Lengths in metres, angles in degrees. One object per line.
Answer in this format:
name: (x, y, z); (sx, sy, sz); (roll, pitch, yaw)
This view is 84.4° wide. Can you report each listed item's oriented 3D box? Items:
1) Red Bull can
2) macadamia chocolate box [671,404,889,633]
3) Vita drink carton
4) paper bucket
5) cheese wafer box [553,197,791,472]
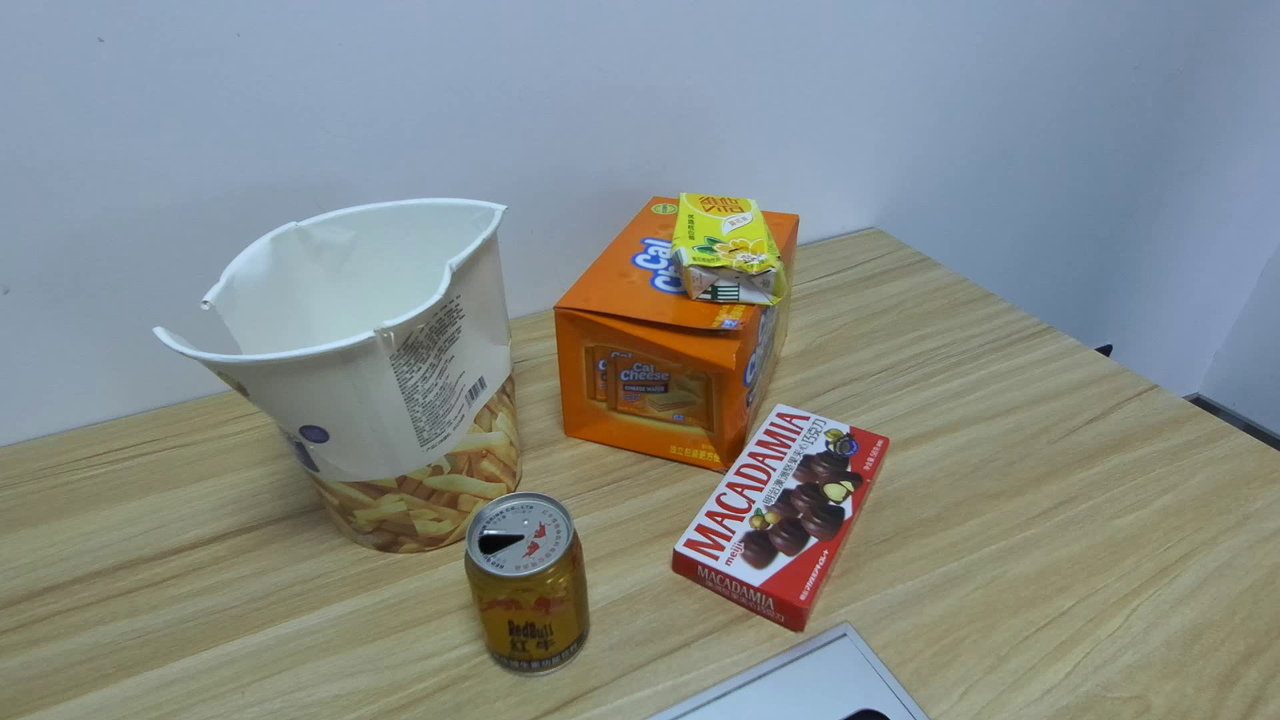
Red Bull can: (-0.065, 0.131, 0.416); (0.068, 0.093, 0.068); (-2, 34, 1)
macadamia chocolate box: (0.106, 0.101, 0.506); (0.095, 0.027, 0.178); (19, 40, 27)
Vita drink carton: (0.064, -0.082, 0.534); (0.087, 0.042, 0.108); (5, 38, -5)
paper bucket: (-0.171, 0.015, 0.491); (0.145, 0.197, 0.202); (2, 35, 8)
cheese wafer box: (0.042, -0.035, 0.606); (0.149, 0.137, 0.227); (12, 37, 18)
